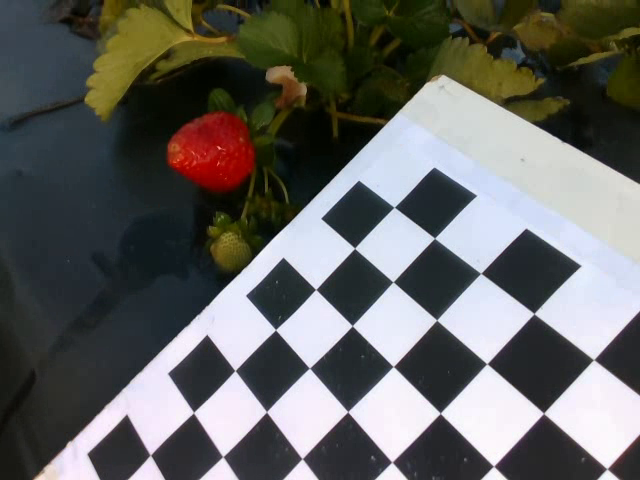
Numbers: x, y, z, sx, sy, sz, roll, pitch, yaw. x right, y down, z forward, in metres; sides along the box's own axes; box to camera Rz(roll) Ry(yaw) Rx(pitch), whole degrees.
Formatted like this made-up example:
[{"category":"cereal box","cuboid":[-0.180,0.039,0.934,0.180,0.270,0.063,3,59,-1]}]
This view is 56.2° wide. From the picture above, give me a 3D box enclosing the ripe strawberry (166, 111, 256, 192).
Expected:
[{"category":"ripe strawberry","cuboid":[-0.064,-0.048,0.332,0.043,0.052,0.057,10,9,35]}]
